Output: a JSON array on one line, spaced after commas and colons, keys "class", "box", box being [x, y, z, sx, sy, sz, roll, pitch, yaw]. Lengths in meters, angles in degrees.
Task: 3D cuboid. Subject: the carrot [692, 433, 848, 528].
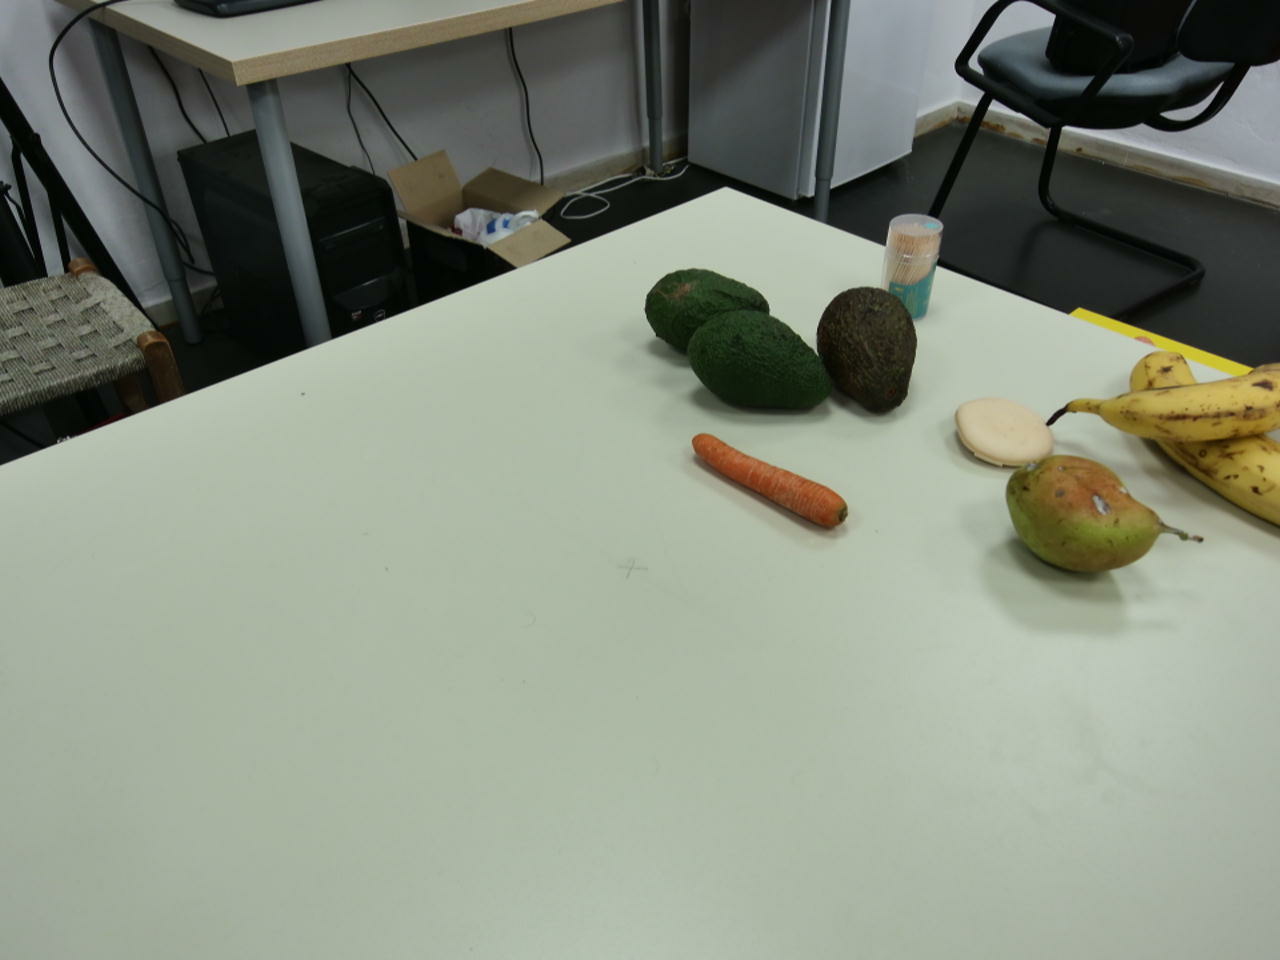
[{"class": "carrot", "box": [0.079, -0.002, 0.631, 0.024, 0.023, 0.122, -30, 46, -34]}]
